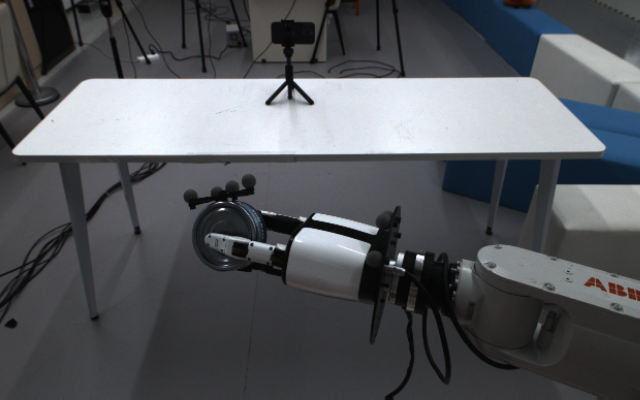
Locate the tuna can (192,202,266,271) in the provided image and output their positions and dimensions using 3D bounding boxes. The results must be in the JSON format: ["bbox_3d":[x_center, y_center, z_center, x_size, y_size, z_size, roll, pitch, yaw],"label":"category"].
[{"bbox_3d":[-0.106,0.049,0.584,0.085,0.085,0.034,12,3,14],"label":"tuna can"}]
